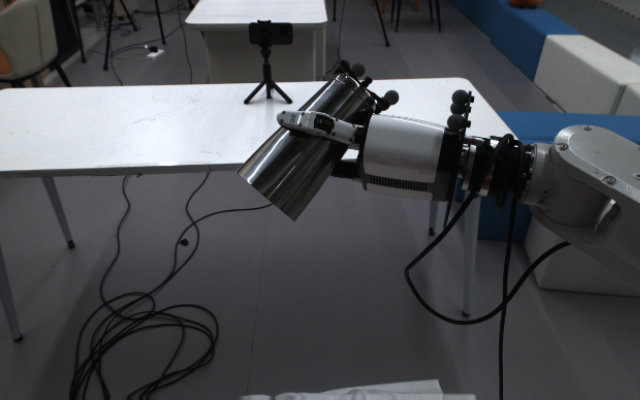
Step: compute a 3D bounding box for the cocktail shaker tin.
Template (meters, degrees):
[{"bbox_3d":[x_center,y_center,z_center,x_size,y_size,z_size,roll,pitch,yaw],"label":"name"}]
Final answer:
[{"bbox_3d":[-0.009,-0.070,0.587,0.170,0.093,0.093,-48,49,-3],"label":"cocktail shaker tin"}]
